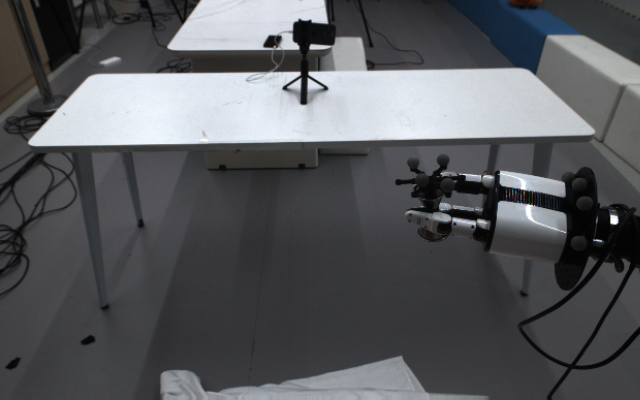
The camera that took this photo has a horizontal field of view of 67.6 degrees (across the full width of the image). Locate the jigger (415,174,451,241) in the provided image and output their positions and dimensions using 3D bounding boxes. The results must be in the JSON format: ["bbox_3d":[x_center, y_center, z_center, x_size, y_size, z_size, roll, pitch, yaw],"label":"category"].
[{"bbox_3d":[0.153,0.014,0.663,0.043,0.071,0.043,-9,31,5],"label":"jigger"}]
